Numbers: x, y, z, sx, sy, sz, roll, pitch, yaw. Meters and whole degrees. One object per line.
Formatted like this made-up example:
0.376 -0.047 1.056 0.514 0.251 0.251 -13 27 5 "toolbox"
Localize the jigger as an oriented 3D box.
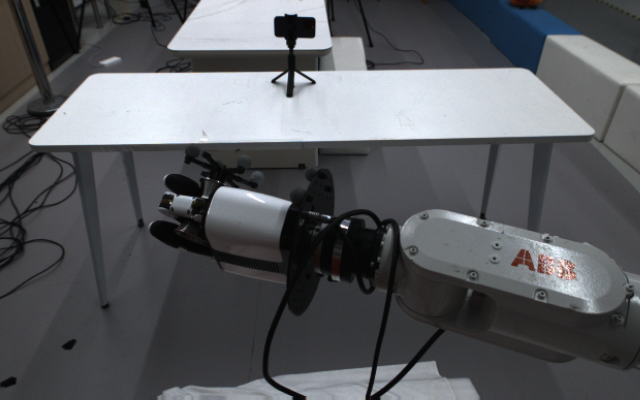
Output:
-0.128 0.014 0.551 0.043 0.043 0.071 13 70 16 "jigger"
